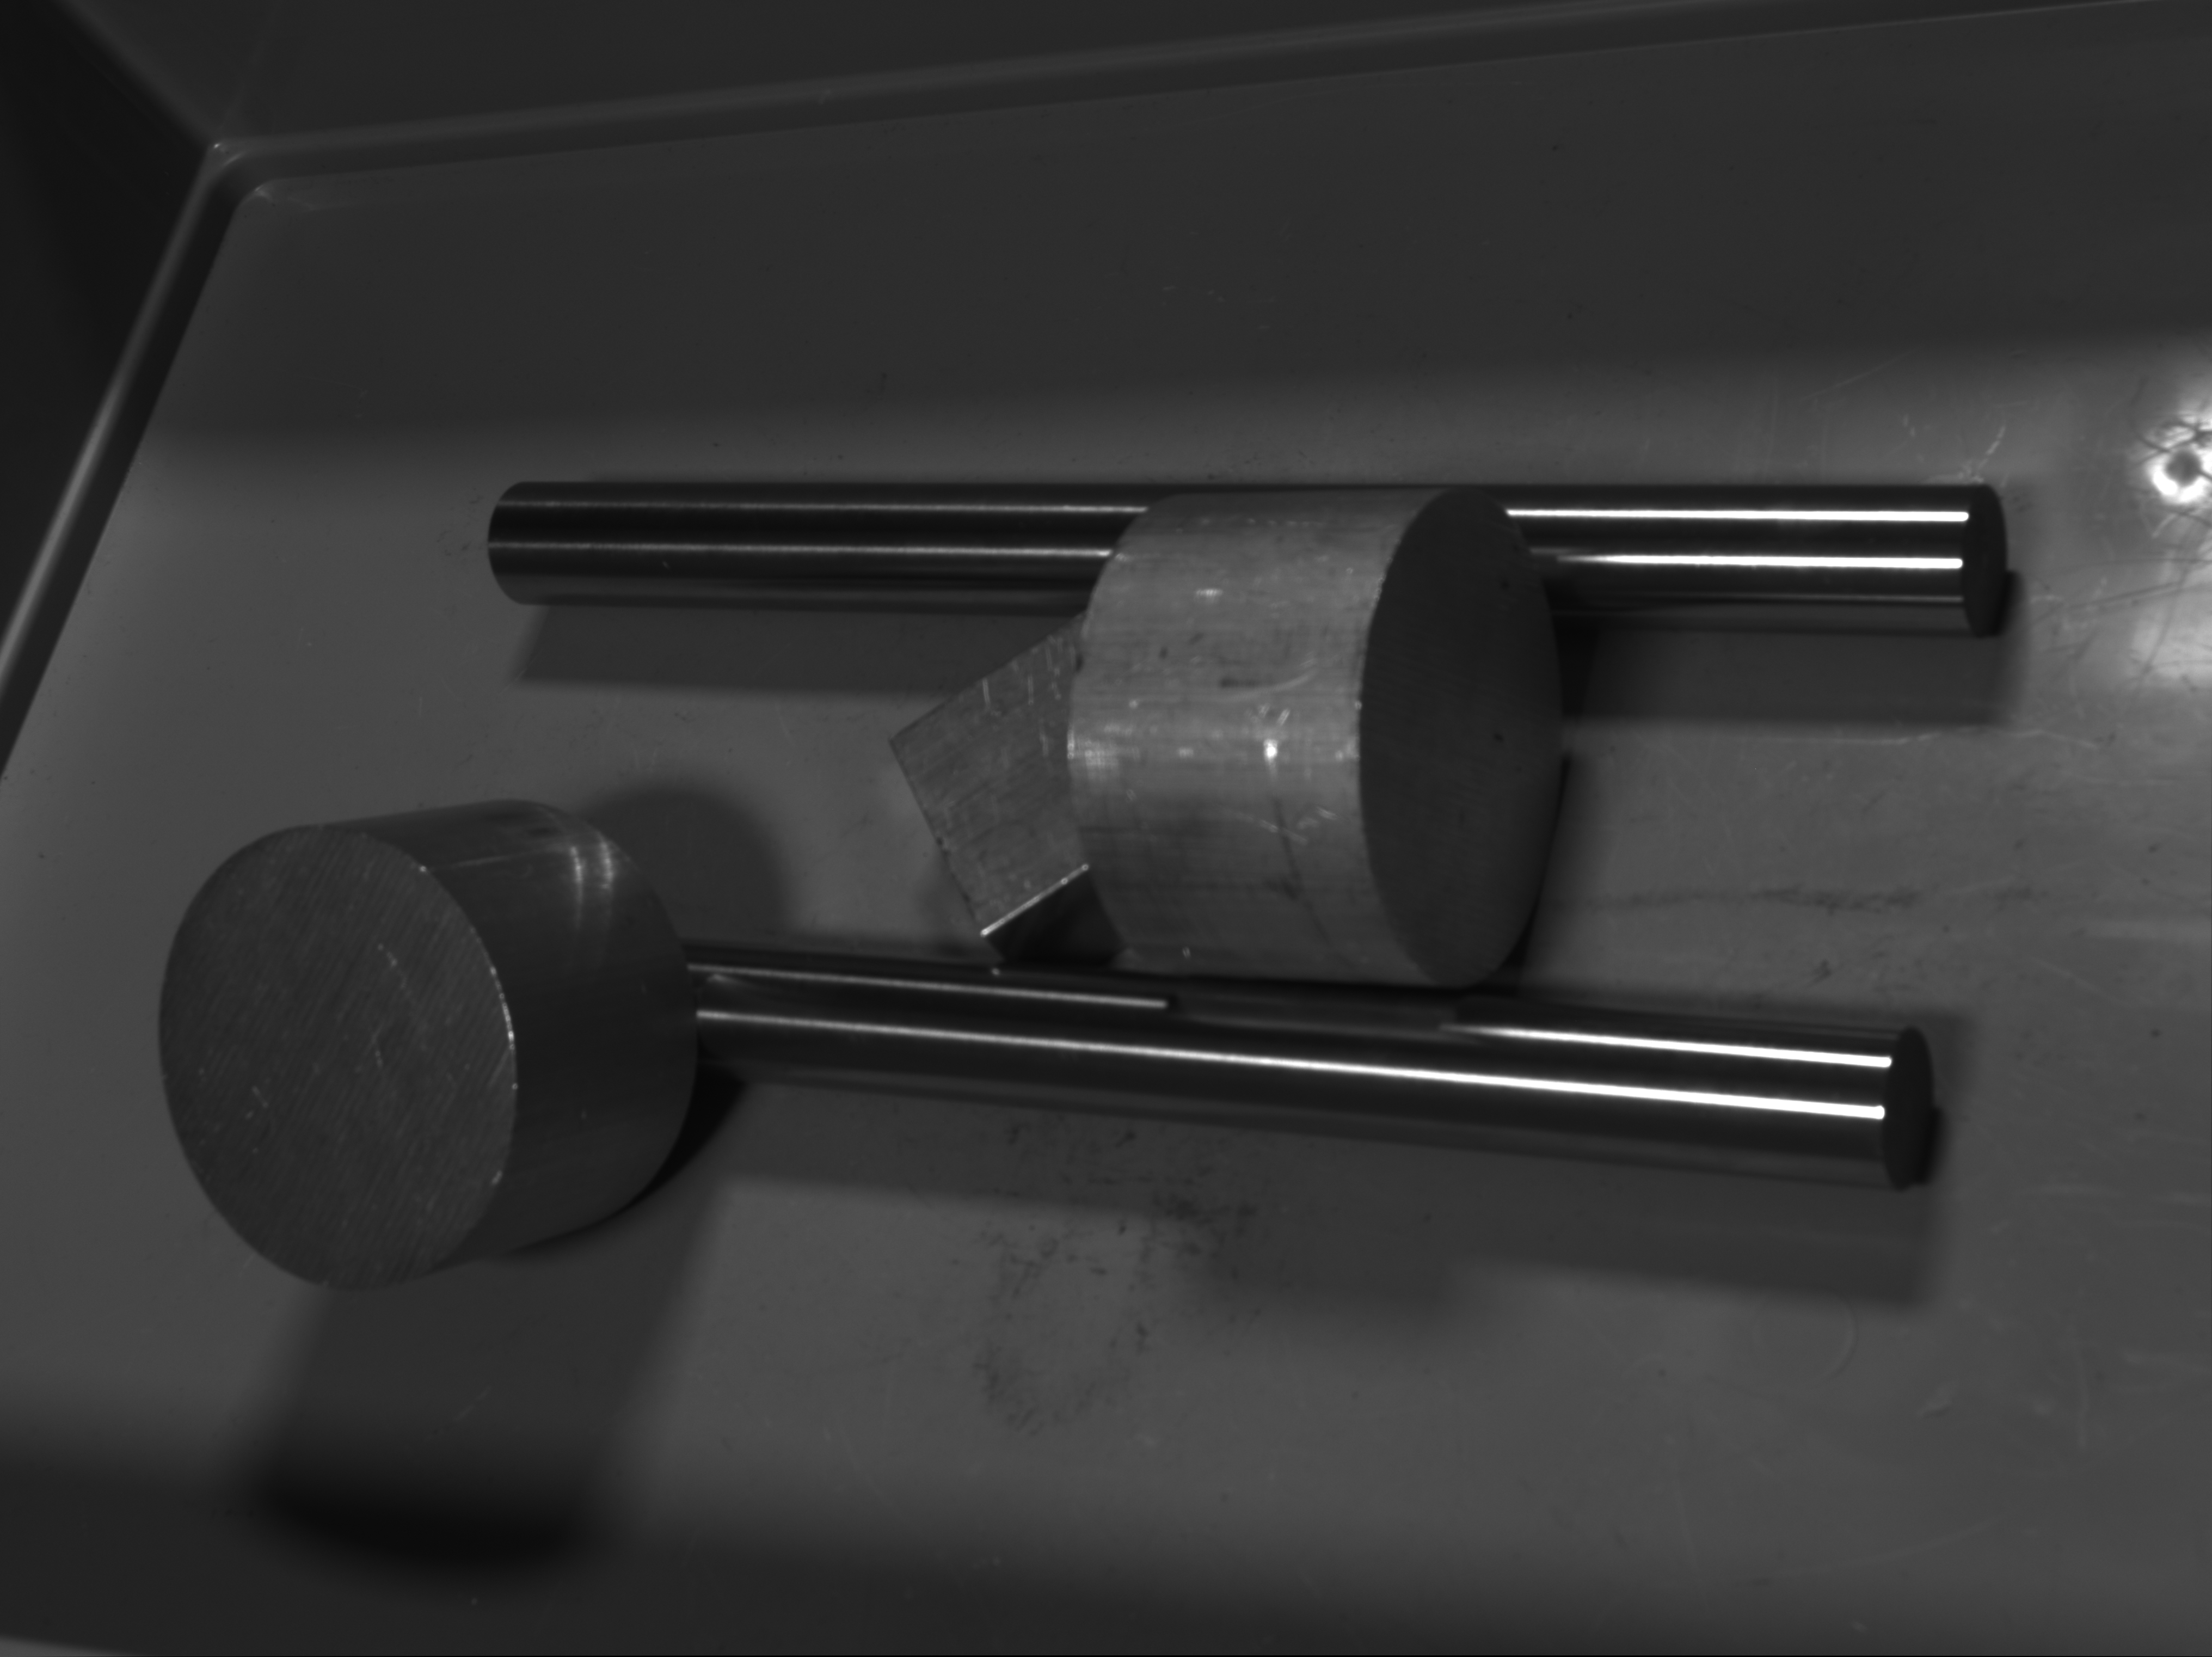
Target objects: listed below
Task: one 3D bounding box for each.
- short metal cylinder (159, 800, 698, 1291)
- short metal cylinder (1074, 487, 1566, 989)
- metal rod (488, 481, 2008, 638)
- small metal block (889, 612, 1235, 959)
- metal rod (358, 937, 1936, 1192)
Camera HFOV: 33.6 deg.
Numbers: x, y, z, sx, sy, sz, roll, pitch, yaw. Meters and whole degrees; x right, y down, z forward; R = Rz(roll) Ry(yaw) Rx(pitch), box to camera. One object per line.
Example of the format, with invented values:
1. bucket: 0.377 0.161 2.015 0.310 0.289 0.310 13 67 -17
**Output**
1. short metal cylinder: -0.119 0.037 0.646 0.080 0.050 0.080 4 97 30
2. short metal cylinder: 0.036 -0.015 0.597 0.050 0.080 0.080 2 62 29
3. metal rod: 0.013 -0.051 0.667 0.299 0.025 0.025 3 63 30
4. small metal block: -0.004 -0.006 0.649 0.050 0.025 0.050 -33 51 7
5. metal rod: -0.009 0.036 0.625 0.299 0.025 0.025 3 63 30
